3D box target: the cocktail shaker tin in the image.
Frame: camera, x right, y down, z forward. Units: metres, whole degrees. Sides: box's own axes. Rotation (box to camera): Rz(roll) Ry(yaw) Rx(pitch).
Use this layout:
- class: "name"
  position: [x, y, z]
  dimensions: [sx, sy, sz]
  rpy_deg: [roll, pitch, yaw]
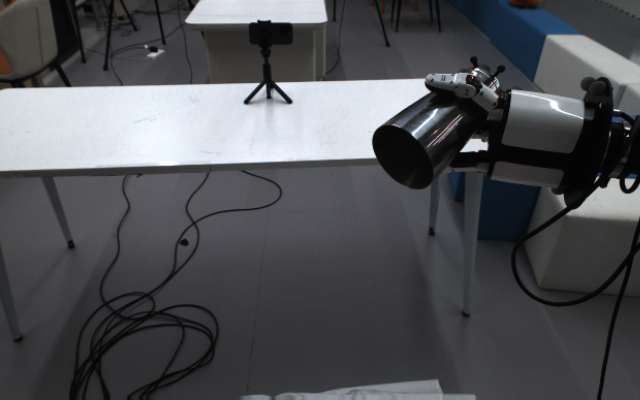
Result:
- class: "cocktail shaker tin"
  position: [0.157, -0.104, 0.614]
  dimensions: [0.170, 0.093, 0.093]
  rpy_deg: [-38, 50, -24]
